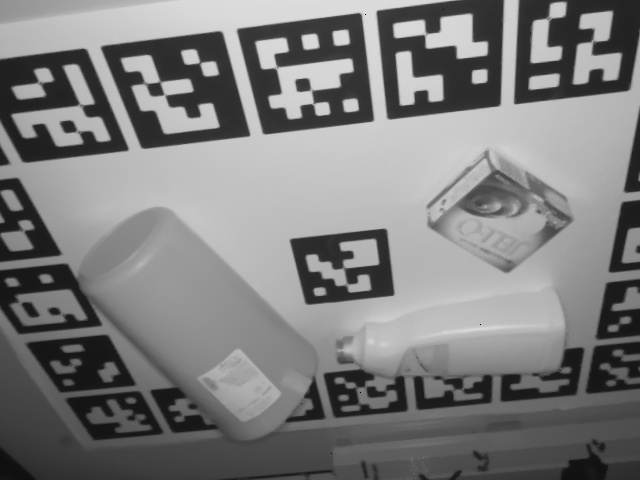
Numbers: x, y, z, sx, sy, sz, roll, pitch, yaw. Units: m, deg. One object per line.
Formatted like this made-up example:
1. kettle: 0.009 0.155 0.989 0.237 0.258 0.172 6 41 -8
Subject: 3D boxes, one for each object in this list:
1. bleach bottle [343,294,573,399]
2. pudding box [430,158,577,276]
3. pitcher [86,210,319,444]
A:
1. bleach bottle: 0.149 0.128 0.781 0.250 0.068 0.102 -9 123 9
2. pudding box: 0.178 -0.017 0.675 0.114 0.039 0.088 31 128 -20
3. pitcher: -0.126 0.088 0.727 0.186 0.135 0.243 -4 132 49
